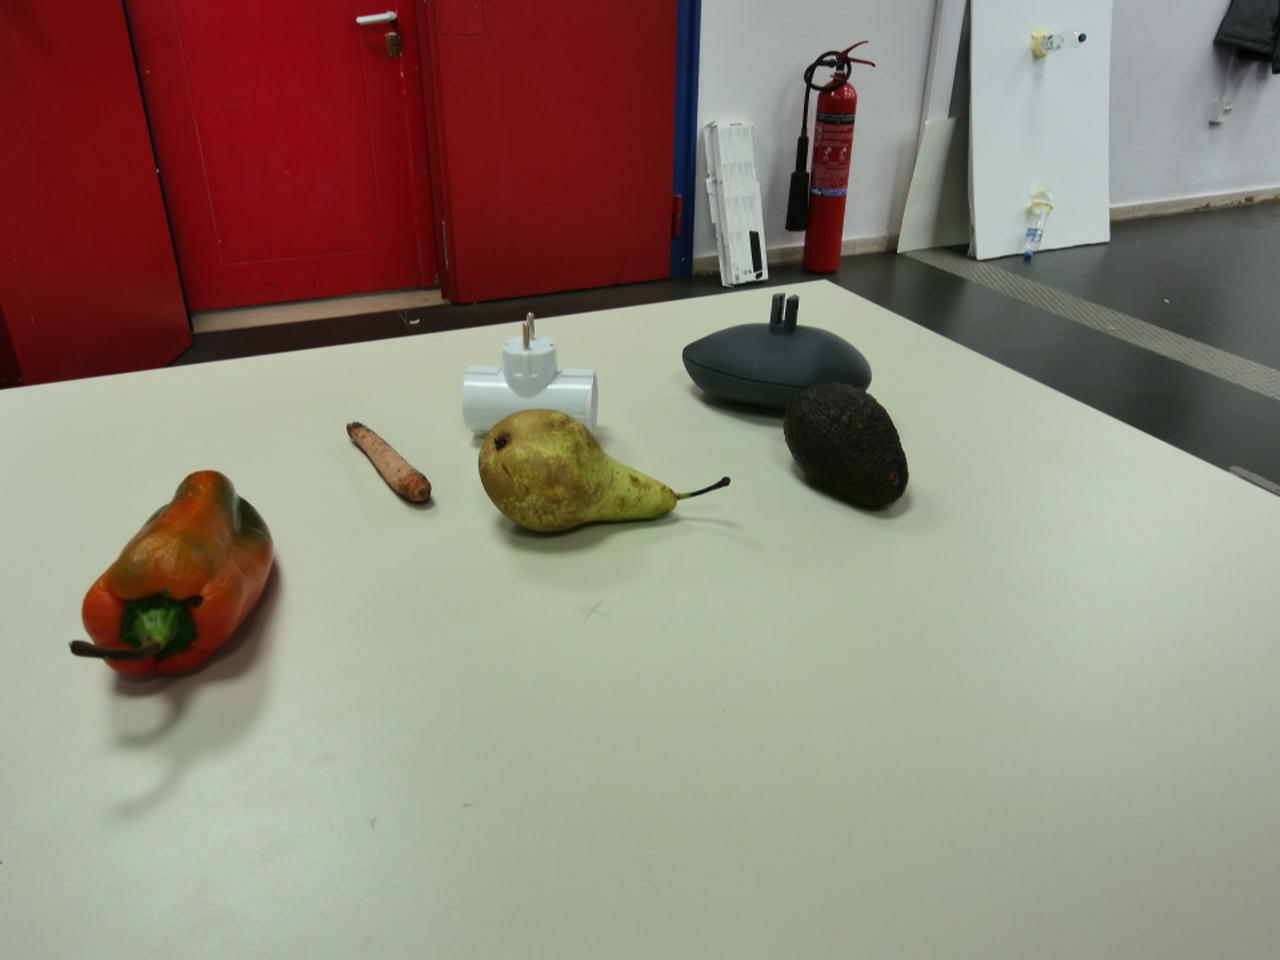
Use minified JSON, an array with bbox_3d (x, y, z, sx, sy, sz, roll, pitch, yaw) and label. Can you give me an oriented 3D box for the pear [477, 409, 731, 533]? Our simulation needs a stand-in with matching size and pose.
[{"bbox_3d":[-0.025,-0.010,0.604,0.144,0.075,0.071,-9,27,-16],"label":"pear"}]
